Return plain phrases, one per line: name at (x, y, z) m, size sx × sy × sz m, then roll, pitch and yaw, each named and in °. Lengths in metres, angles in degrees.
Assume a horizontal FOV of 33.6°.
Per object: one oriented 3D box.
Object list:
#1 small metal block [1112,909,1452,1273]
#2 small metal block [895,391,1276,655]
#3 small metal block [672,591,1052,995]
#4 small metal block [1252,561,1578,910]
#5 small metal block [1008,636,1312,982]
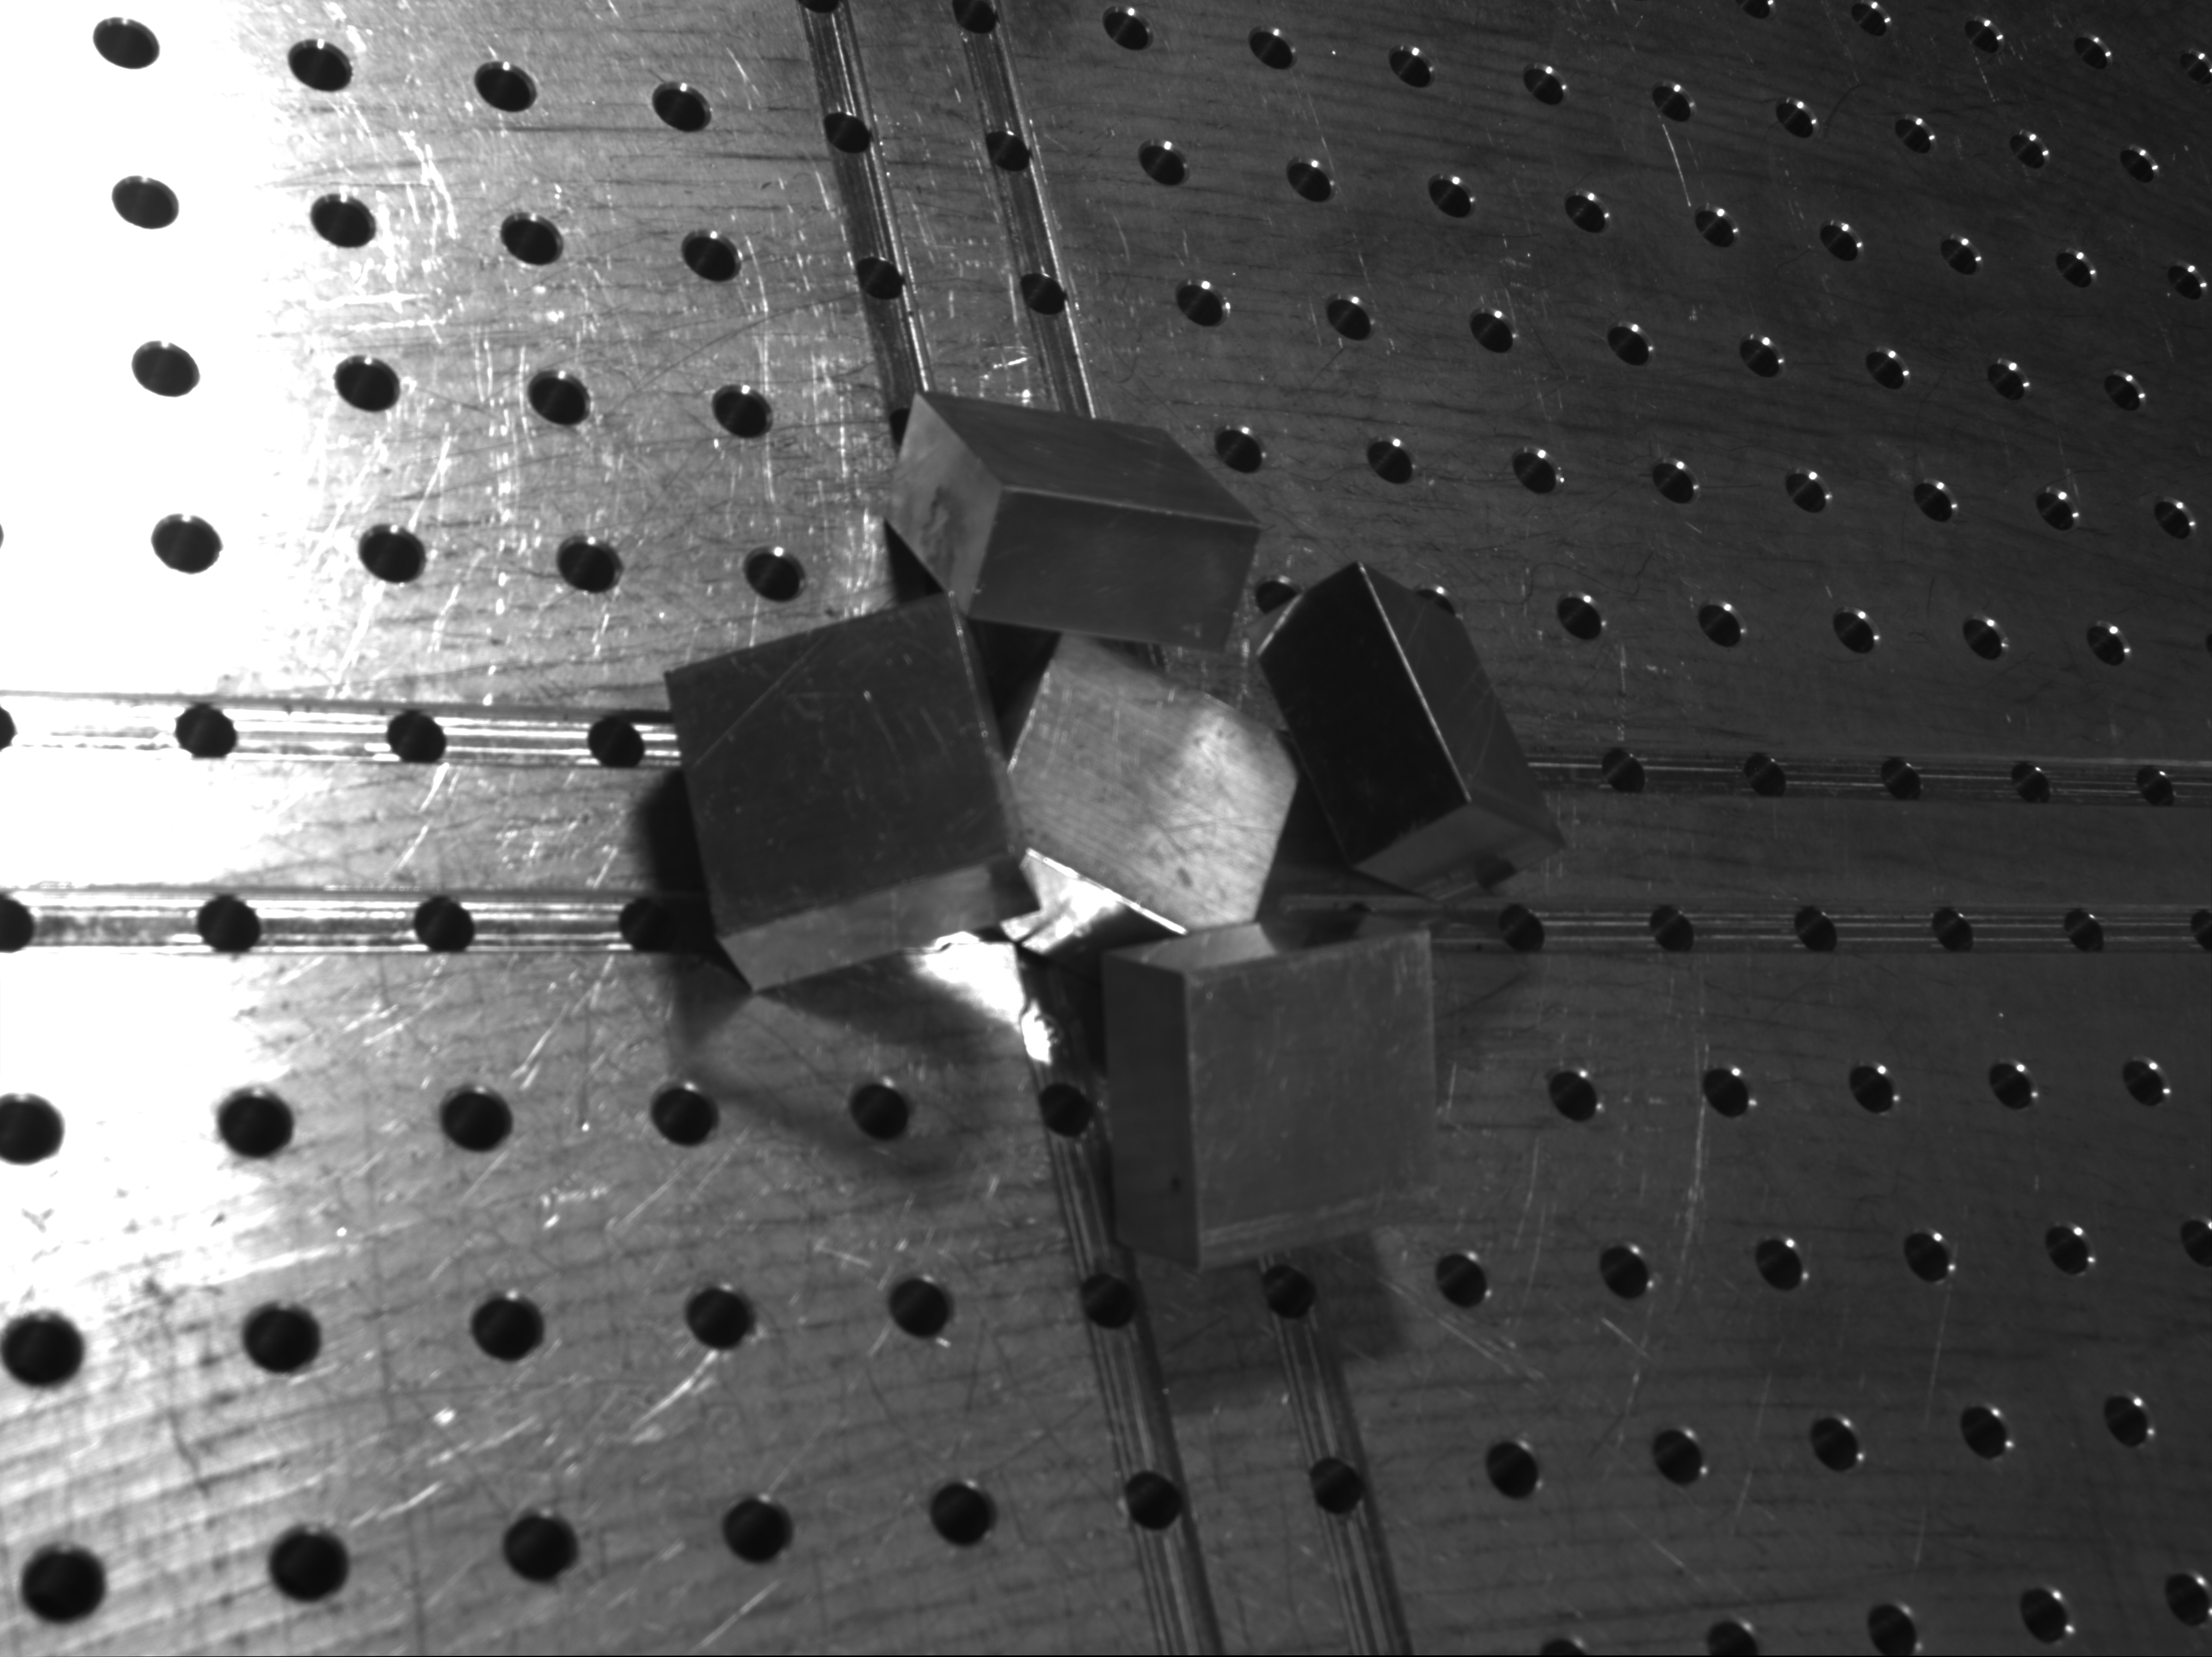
small metal block at (0.030, 0.043, 0.617) m, size 0.050 × 0.025 × 0.050 m, roll -9°, pitch 102°, yaw -32°
small metal block at (-0.004, -0.055, 0.658) m, size 0.050 × 0.025 × 0.050 m, roll 6°, pitch 23°, yaw -25°
small metal block at (-0.041, -0.006, 0.610) m, size 0.050 × 0.025 × 0.050 m, roll -16°, pitch 65°, yaw 3°
small metal block at (0.057, -0.016, 0.668) m, size 0.050 × 0.025 × 0.050 m, roll 19°, pitch 44°, yaw -62°
small metal block at (0.005, -0.001, 0.646) m, size 0.050 × 0.025 × 0.050 m, roll 28°, pitch 52°, yaw -11°
